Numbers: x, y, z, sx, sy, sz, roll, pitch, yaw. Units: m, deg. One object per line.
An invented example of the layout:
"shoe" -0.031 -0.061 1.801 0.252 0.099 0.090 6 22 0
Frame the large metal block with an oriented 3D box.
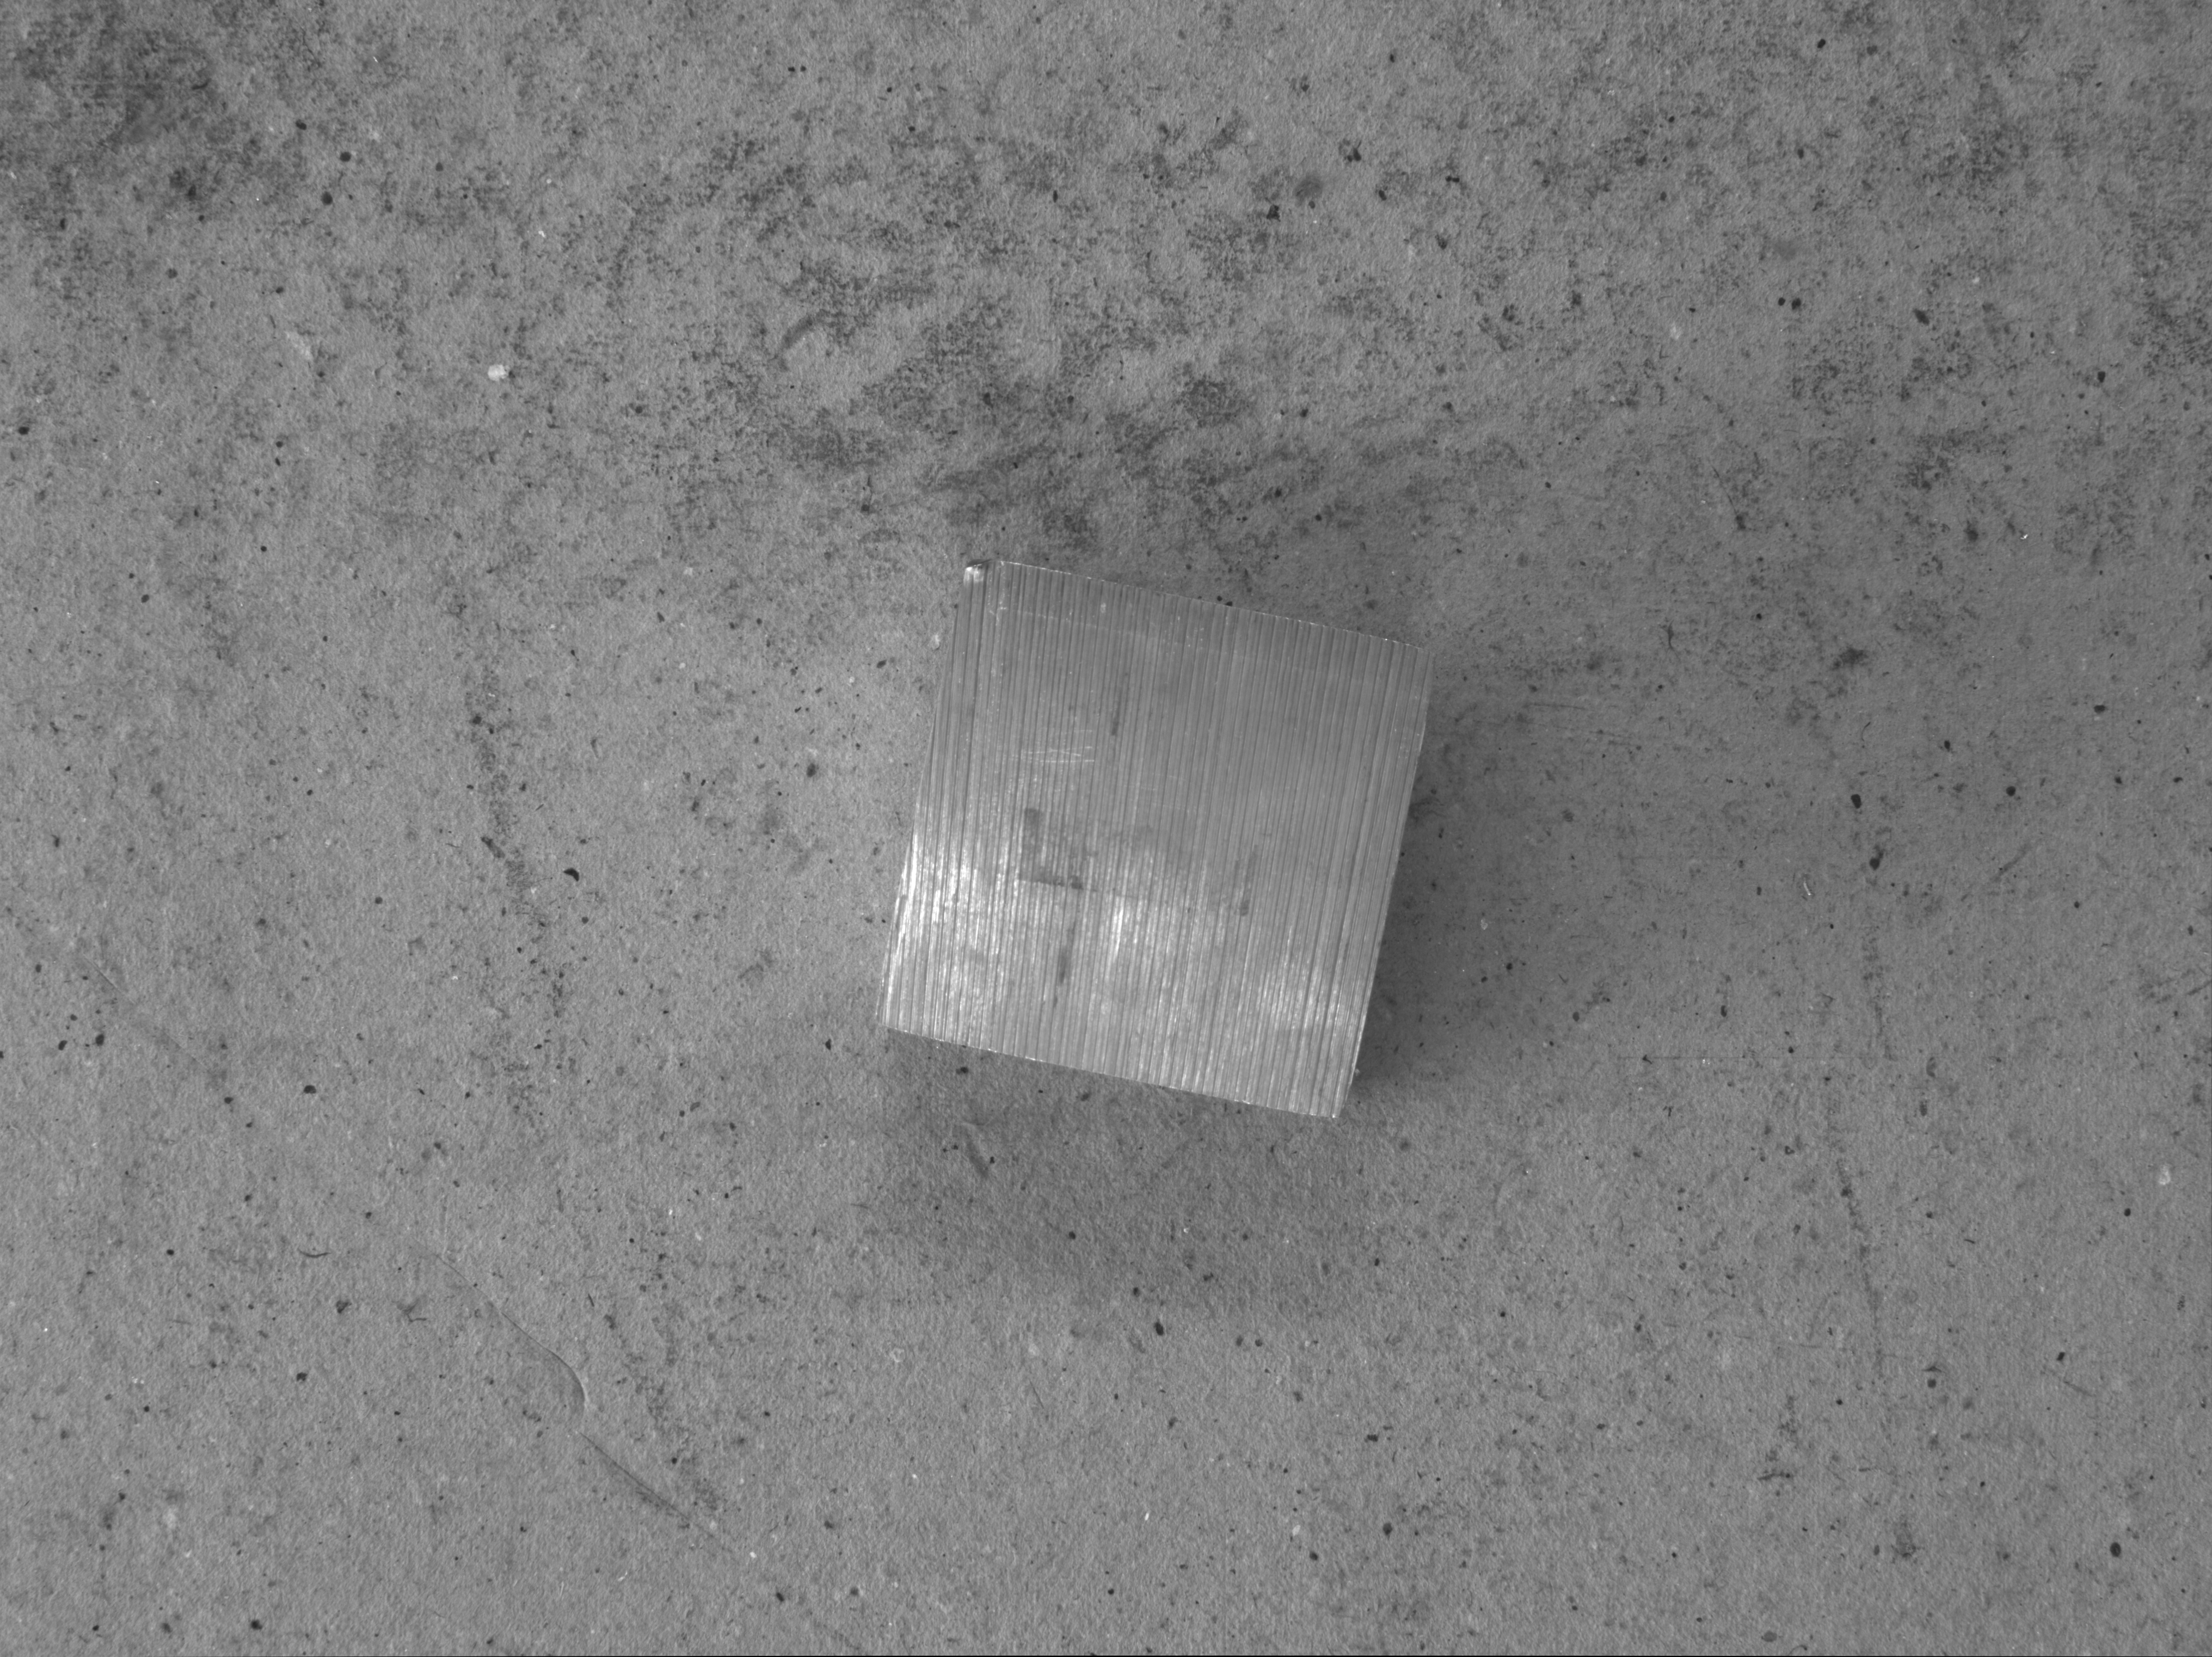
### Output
"large metal block" 0.008 0.002 0.634 0.080 0.050 0.080 11 90 -1
